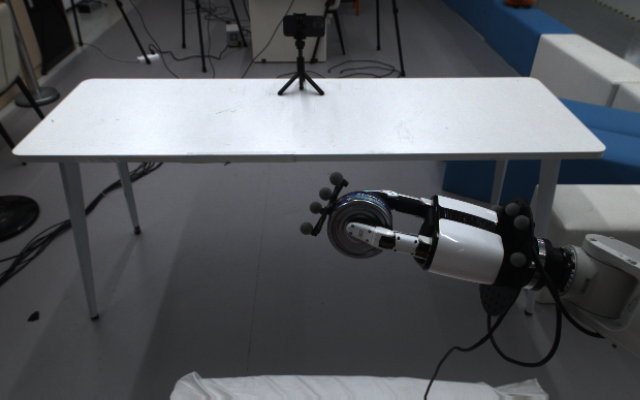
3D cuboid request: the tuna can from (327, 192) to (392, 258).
[{"bbox_3d":[0.055,0.031,0.636,0.085,0.085,0.034,3,21,1],"label":"tuna can"}]
